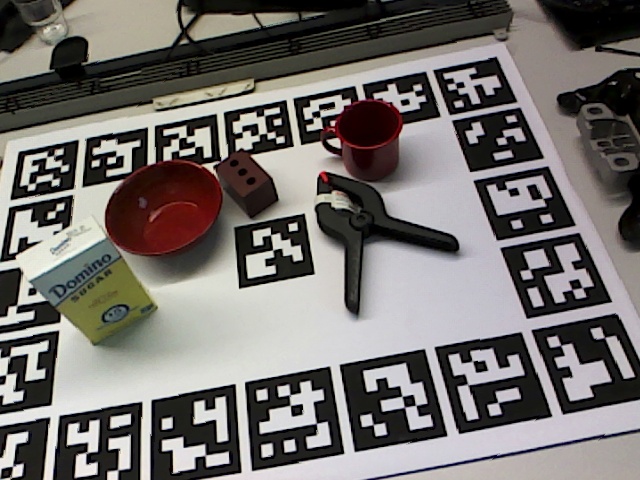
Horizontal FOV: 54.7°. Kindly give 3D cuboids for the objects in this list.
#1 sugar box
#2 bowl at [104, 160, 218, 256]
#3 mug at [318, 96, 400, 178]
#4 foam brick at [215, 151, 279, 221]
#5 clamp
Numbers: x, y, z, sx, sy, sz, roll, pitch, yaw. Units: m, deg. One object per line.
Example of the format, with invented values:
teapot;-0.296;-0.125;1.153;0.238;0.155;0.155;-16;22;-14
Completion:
sugar box;-0.274;0.058;0.748;0.093;0.176;0.045;-33;61;-14
bowl;-0.216;-0.035;0.869;0.162;0.055;0.162;-4;57;5
mug;0.054;-0.144;0.879;0.117;0.081;0.093;12;60;12
foam brick;-0.105;-0.077;0.888;0.052;0.051;0.078;-35;60;-13
clamp;0.045;-0.022;0.824;0.165;0.036;0.204;-32;59;-10
